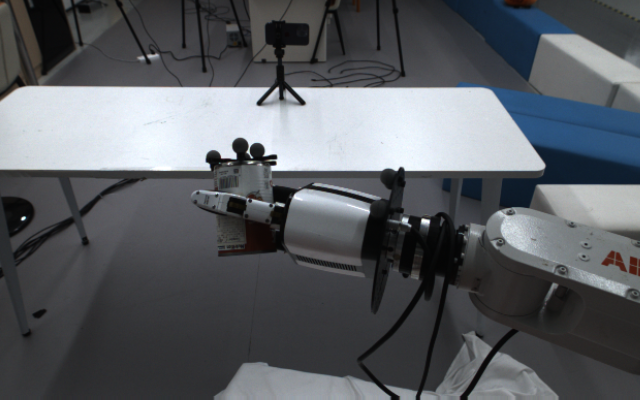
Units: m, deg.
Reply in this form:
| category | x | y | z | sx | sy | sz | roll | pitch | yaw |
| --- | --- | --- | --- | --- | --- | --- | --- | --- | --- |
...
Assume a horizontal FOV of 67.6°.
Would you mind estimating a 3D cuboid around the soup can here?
| category | x | y | z | sx | sy | sz | roll | pitch | yaw |
| --- | --- | --- | --- | --- | --- | --- | --- | --- | --- |
| soup can | -0.083 | 0.012 | 0.552 | 0.067 | 0.101 | 0.067 | -5 | -5 | 0 |
